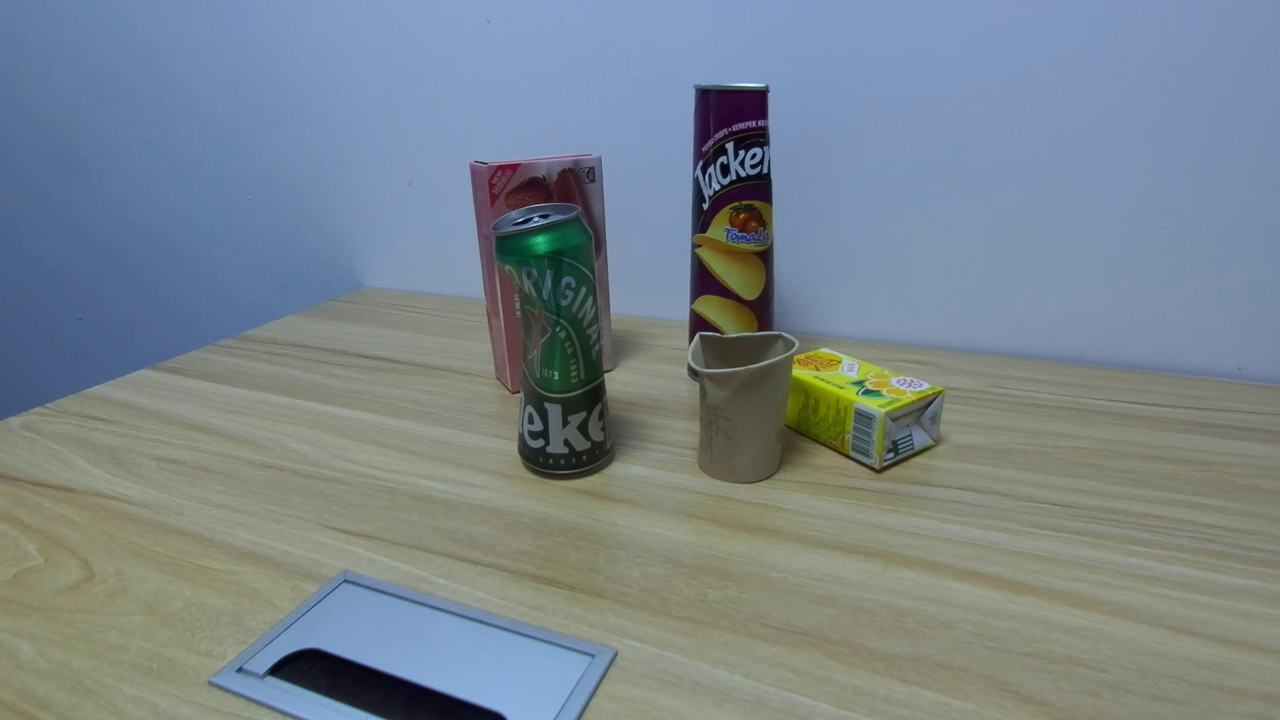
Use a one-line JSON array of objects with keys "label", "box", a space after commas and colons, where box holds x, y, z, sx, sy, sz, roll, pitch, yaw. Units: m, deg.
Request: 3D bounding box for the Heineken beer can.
[{"label": "Heineken beer can", "box": [-0.056, -0.010, 0.457, 0.069, 0.168, 0.068, 5, 23, 24]}]

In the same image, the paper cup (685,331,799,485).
[{"label": "paper cup", "box": [0.066, 0.030, 0.452, 0.071, 0.084, 0.066, -2, 20, 1]}]

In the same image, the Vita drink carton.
[{"label": "Vita drink carton", "box": [0.148, 0.031, 0.503, 0.067, 0.043, 0.108, -13, 24, -32]}]

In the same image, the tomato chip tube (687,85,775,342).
[{"label": "tomato chip tube", "box": [0.076, -0.097, 0.571, 0.076, 0.235, 0.078, 8, 21, 24]}]

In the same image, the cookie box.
[{"label": "cookie box", "box": [-0.079, -0.073, 0.592, 0.096, 0.185, 0.048, -13, 23, -26]}]
